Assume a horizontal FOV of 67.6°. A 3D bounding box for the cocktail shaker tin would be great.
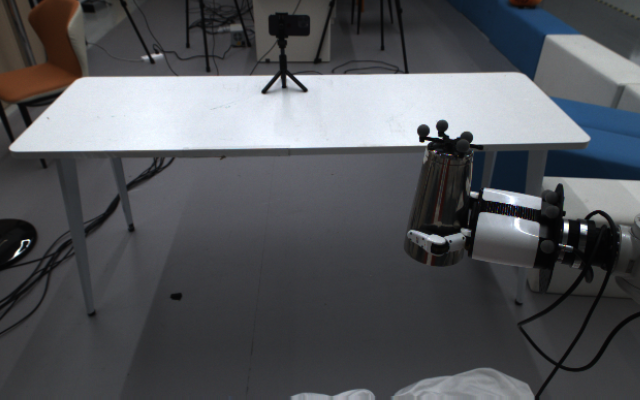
[{"bbox_3d":[0.181,0.002,0.719,0.093,0.170,0.093,1,28,-1],"label":"cocktail shaker tin"}]
